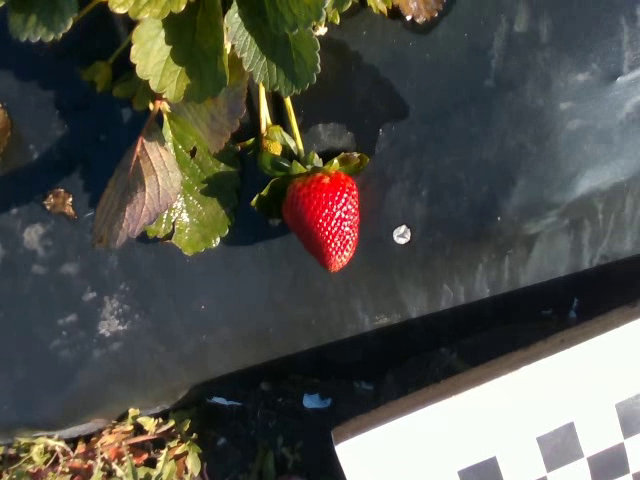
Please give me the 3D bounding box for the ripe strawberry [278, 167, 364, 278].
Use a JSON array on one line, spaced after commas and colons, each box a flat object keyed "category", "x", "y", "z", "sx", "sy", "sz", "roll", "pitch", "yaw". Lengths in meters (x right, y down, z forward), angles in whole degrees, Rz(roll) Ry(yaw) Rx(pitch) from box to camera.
[{"category": "ripe strawberry", "x": 0.004, "y": -0.009, "z": 0.298, "sx": 0.045, "sy": 0.055, "sz": 0.042, "roll": -15, "pitch": -17, "yaw": -9}]
